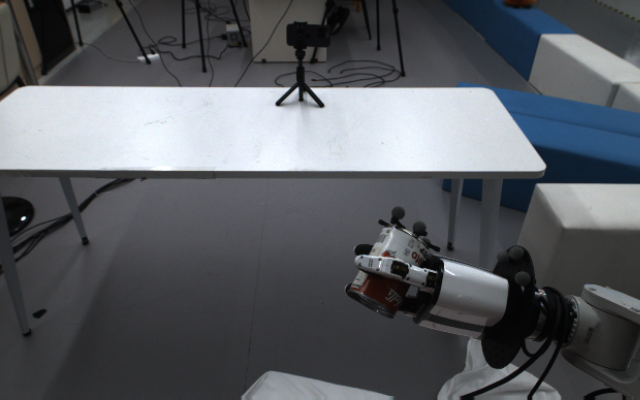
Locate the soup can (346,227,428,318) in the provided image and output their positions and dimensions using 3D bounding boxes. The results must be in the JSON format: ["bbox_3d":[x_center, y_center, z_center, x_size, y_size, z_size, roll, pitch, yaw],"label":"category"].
[{"bbox_3d":[0.091,0.092,0.627,0.067,0.067,0.101,22,71,27],"label":"soup can"}]
